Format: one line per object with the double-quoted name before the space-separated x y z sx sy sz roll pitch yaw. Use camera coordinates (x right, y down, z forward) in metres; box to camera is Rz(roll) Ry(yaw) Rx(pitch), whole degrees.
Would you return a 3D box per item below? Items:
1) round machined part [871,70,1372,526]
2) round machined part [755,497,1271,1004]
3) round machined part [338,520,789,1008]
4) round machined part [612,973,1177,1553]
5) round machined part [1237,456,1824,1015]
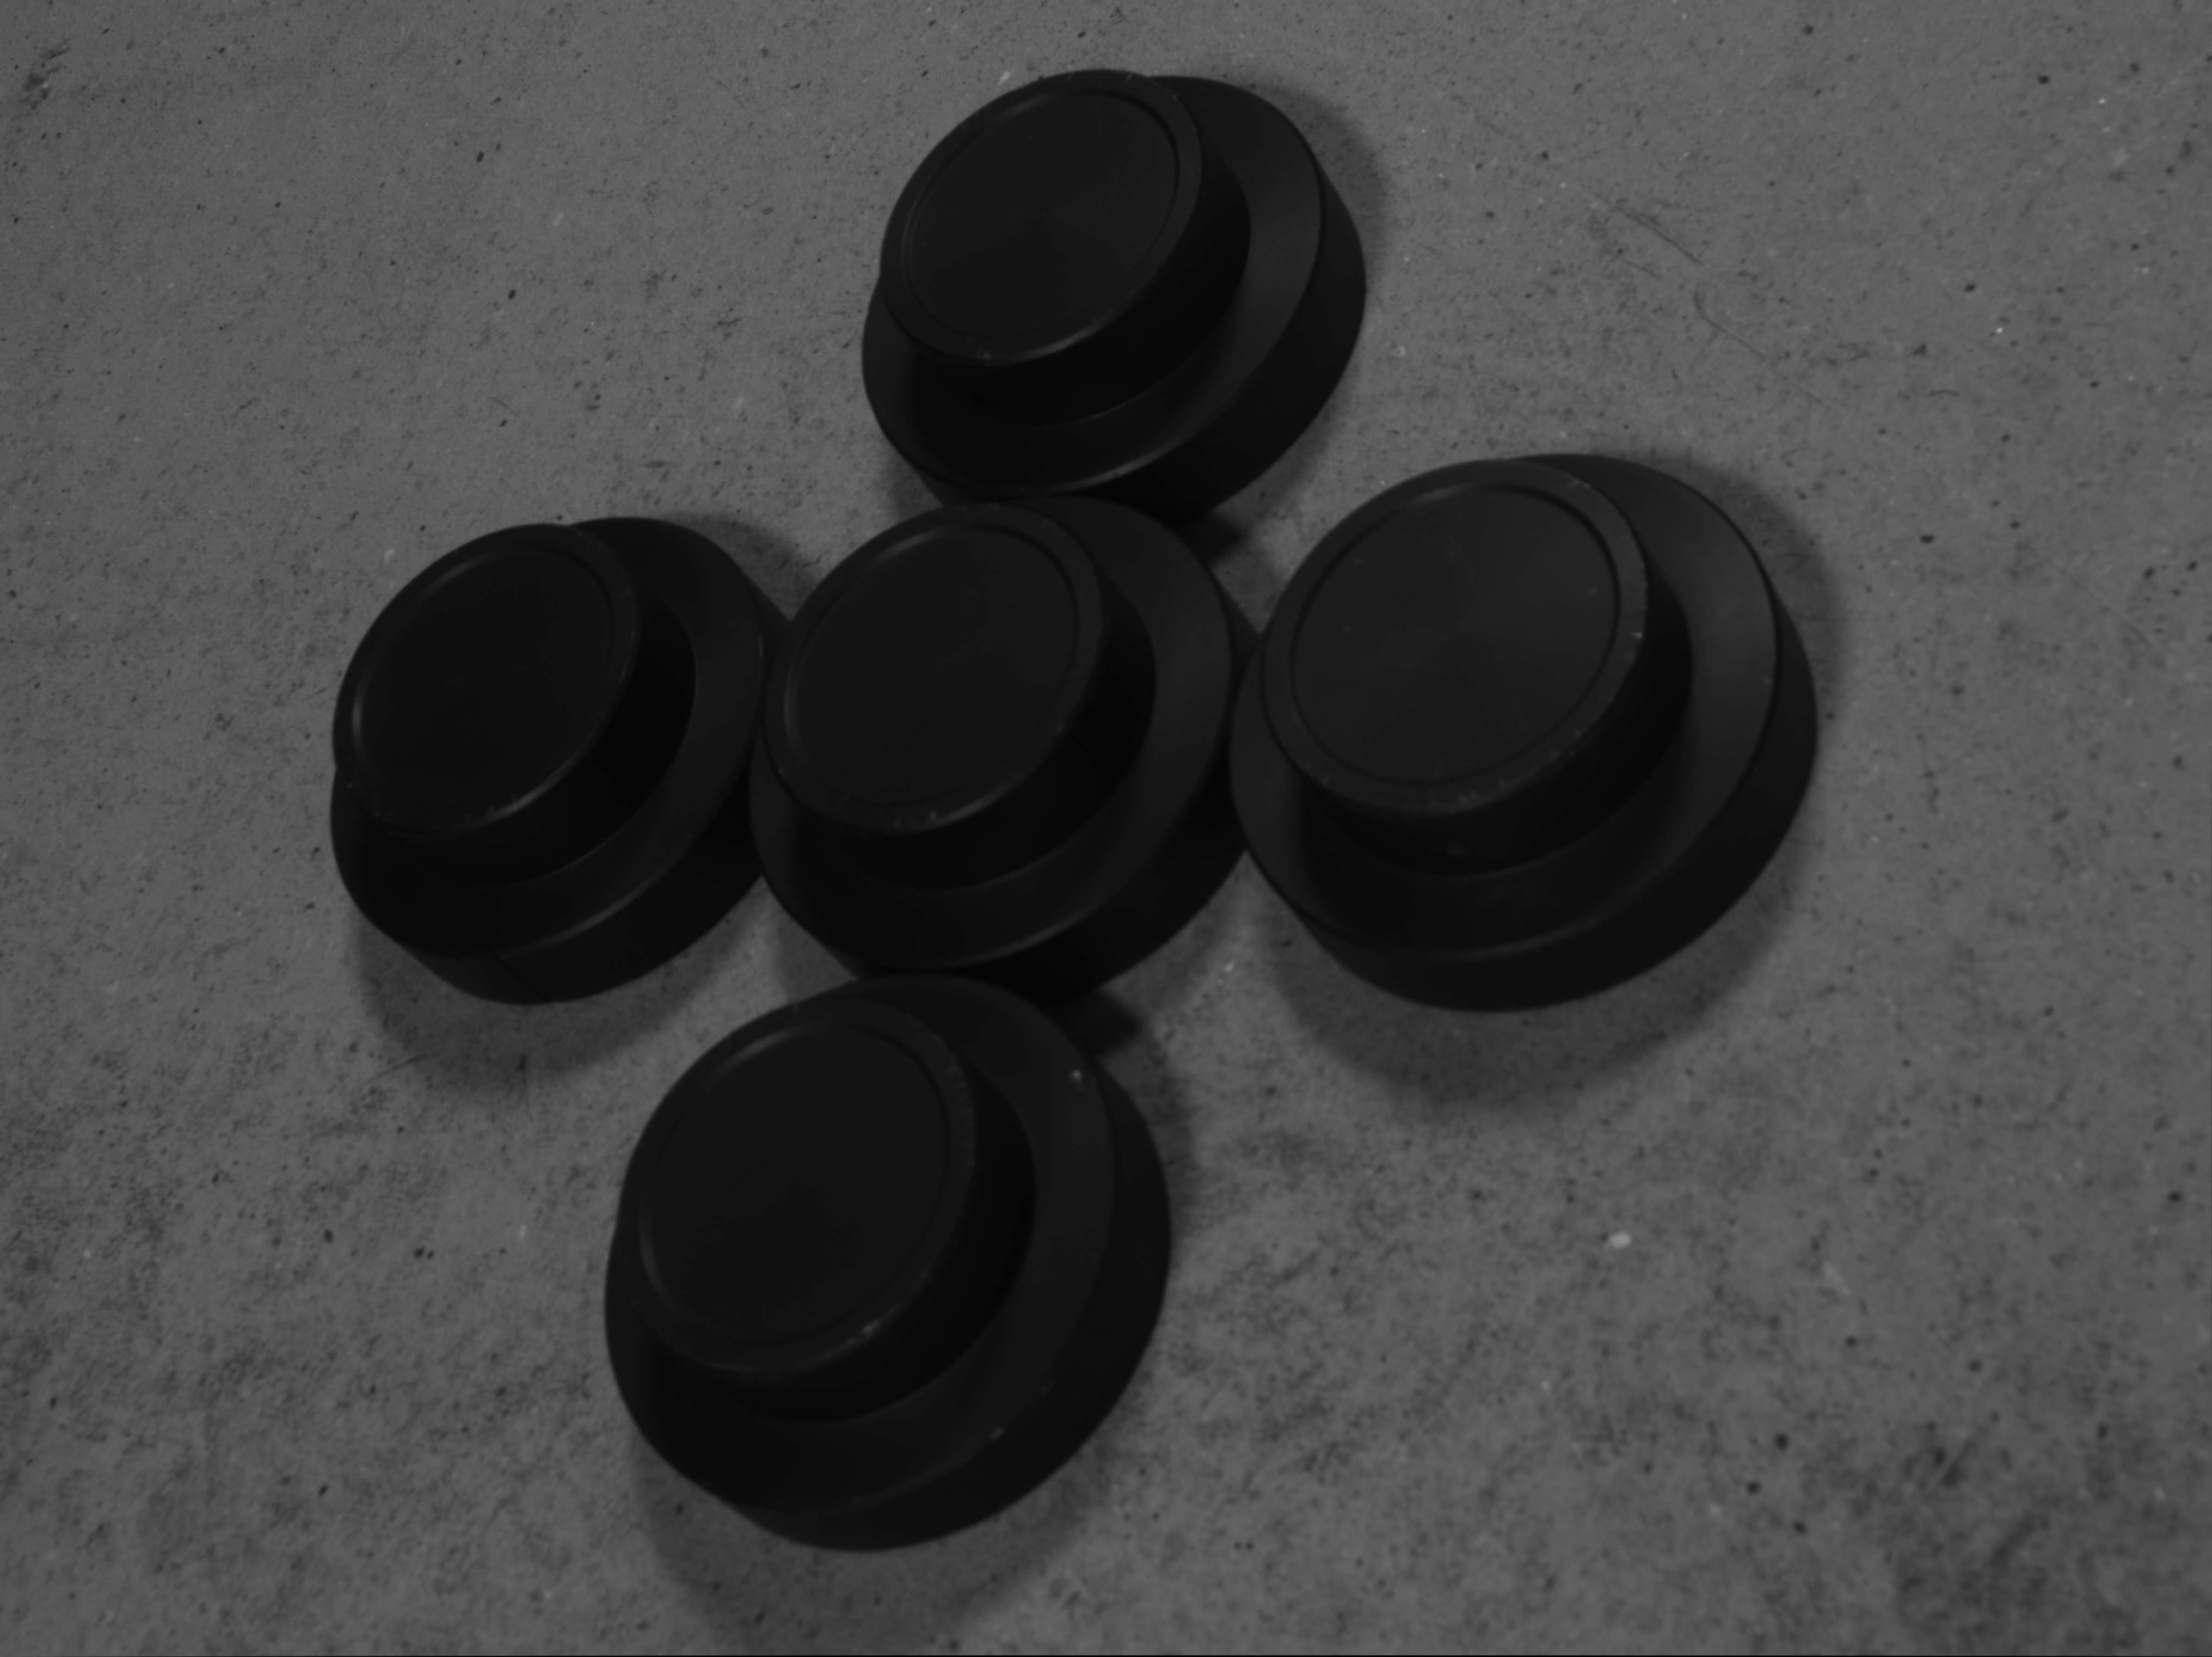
"round machined part" -0.002 -0.105 0.700 0.098 0.042 0.098 -13 56 21
"round machined part" -0.021 -0.019 0.656 0.098 0.042 0.098 -13 56 21
"round machined part" -0.107 -0.018 0.703 0.098 0.042 0.098 -13 56 21
"round machined part" -0.041 0.068 0.613 0.098 0.042 0.098 -13 56 21
"round machined part" 0.067 -0.022 0.611 0.098 0.042 0.098 -13 56 21
